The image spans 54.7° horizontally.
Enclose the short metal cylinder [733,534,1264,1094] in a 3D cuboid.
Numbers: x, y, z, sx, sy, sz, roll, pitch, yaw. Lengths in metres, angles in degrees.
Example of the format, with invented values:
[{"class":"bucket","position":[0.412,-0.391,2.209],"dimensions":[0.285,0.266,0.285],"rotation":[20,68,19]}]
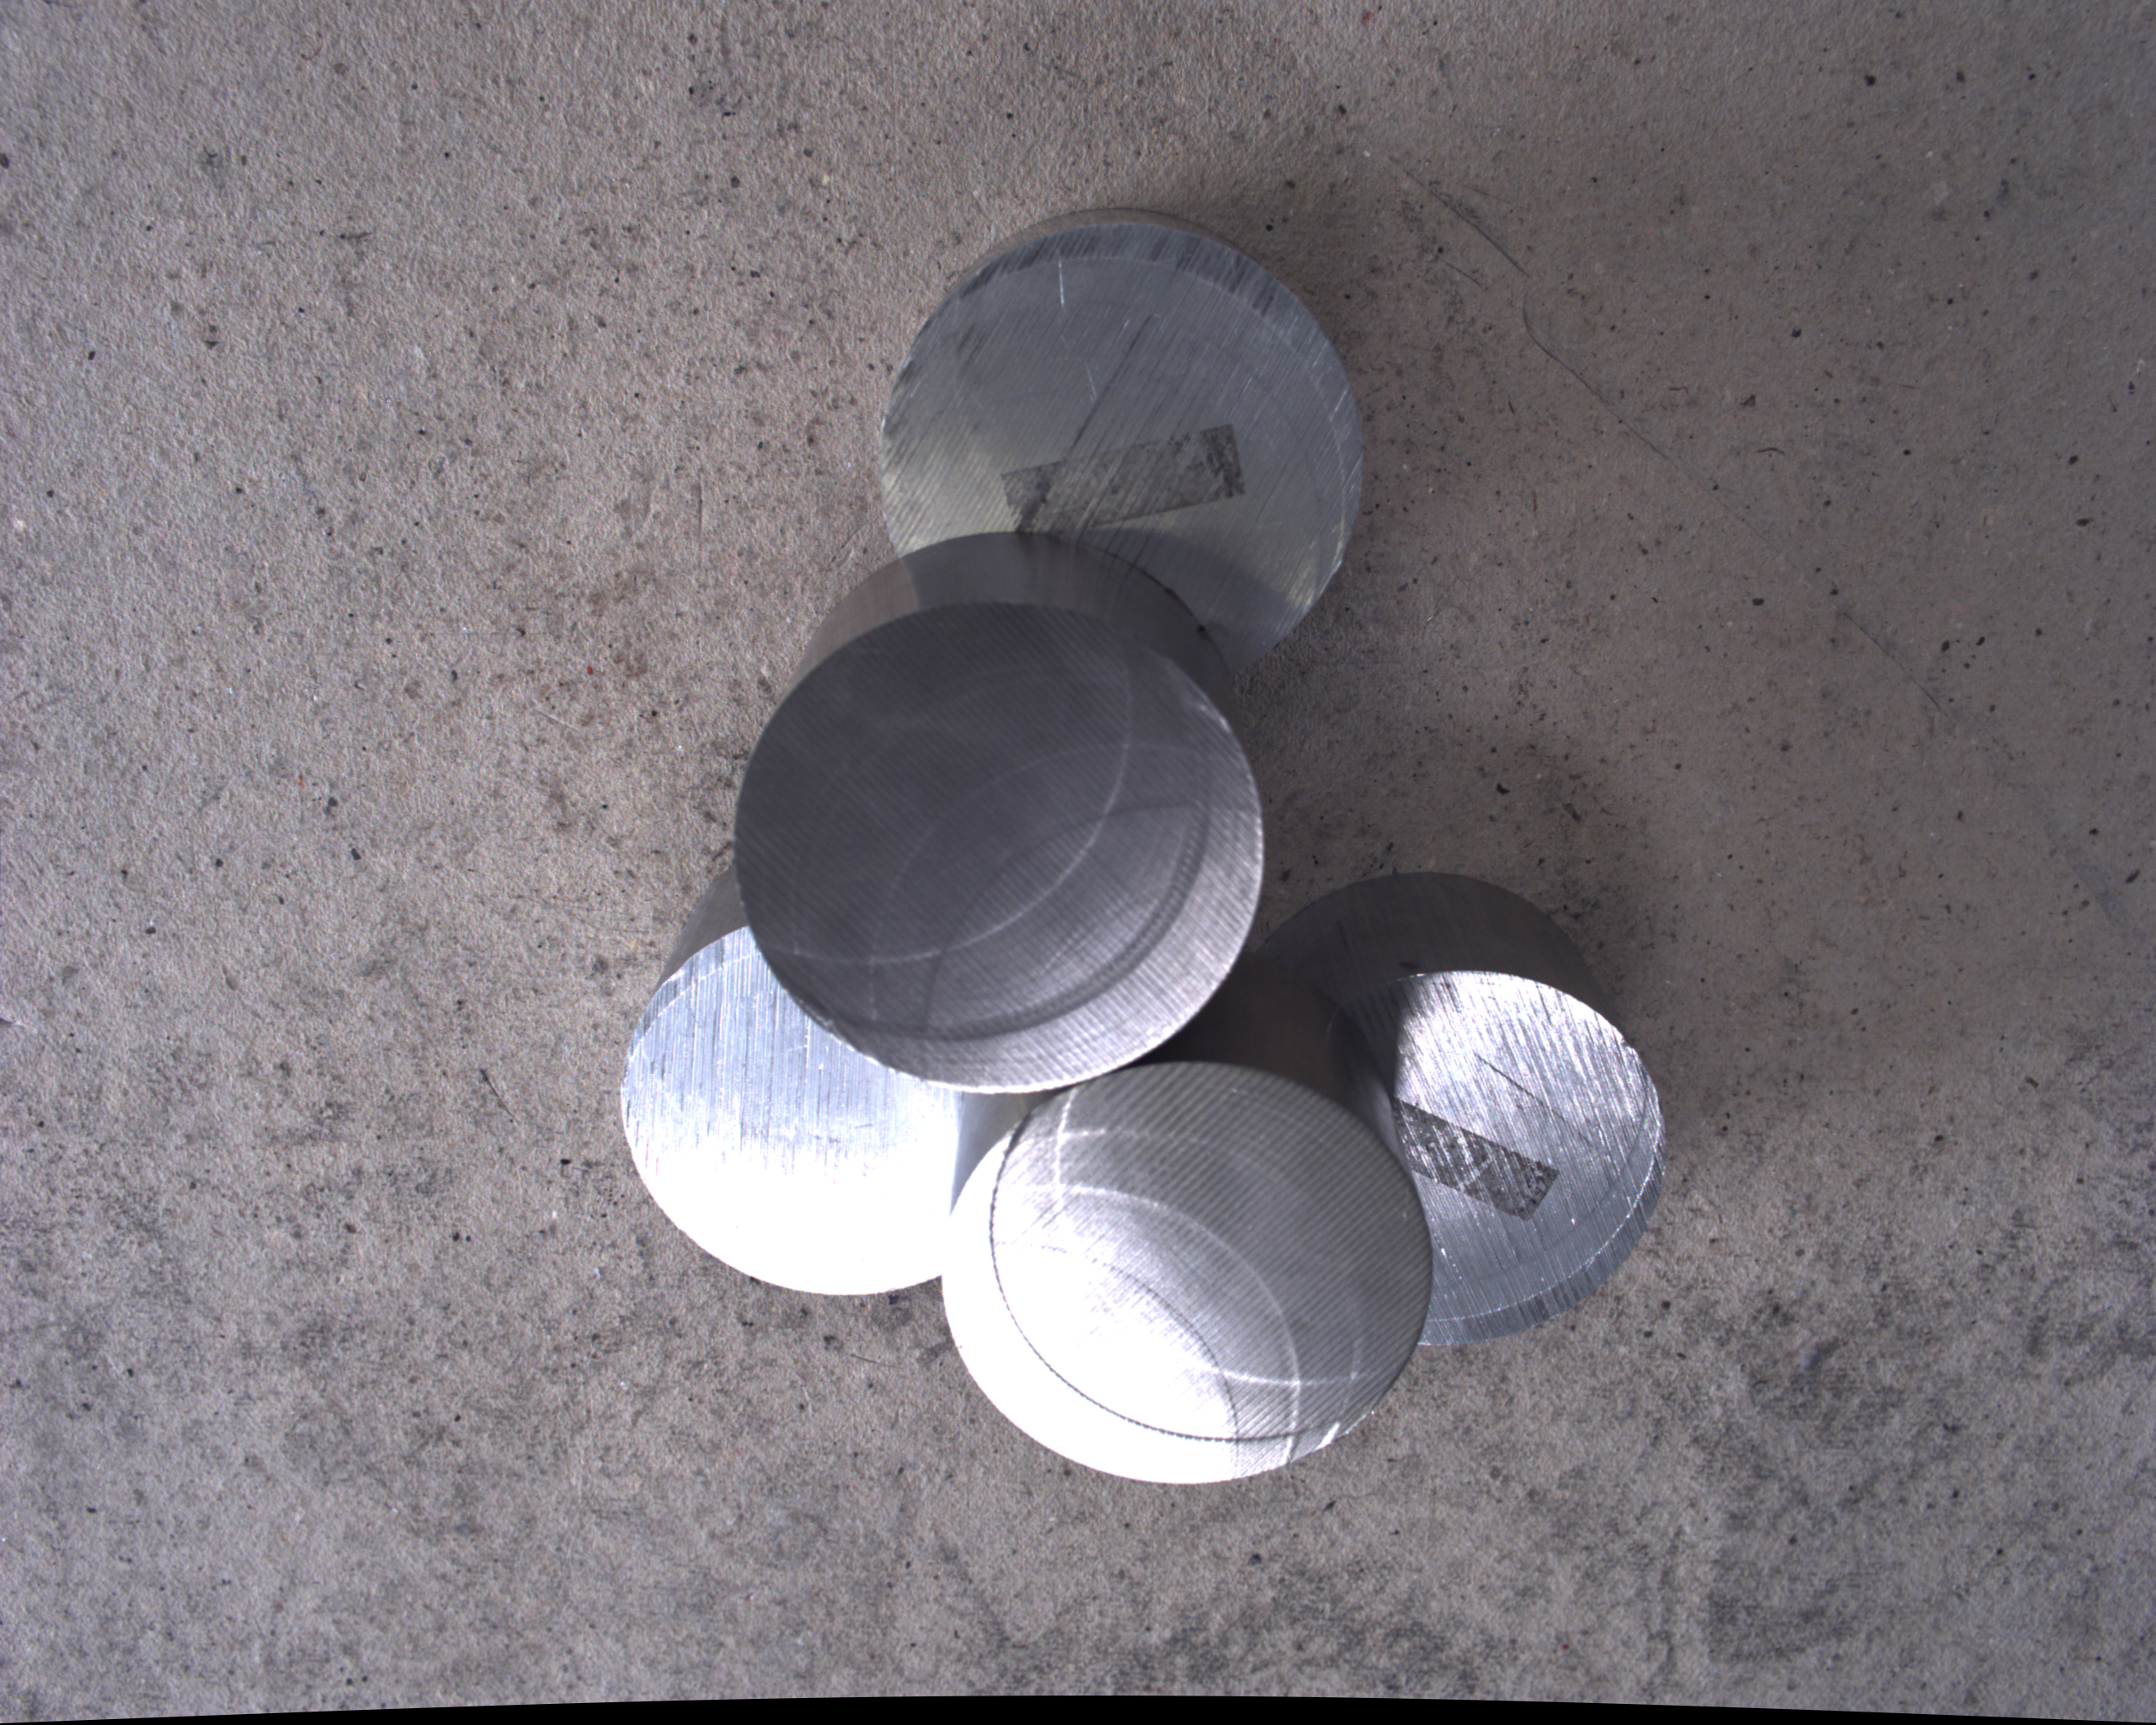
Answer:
[{"class":"short metal cylinder","position":[-0.012,-0.009,0.340],"dimensions":[0.080,0.050,0.079],"rotation":[0,110,0]}]

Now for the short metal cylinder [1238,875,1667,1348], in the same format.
[{"class":"short metal cylinder","position":[0.070,0.049,0.416],"dimensions":[0.081,0.050,0.079],"rotation":[0,110,0]}]

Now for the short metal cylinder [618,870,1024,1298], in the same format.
[{"class":"short metal cylinder","position":[-0.045,0.038,0.411],"dimensions":[0.081,0.050,0.079],"rotation":[0,110,0]}]

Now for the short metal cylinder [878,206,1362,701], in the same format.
[{"class":"short metal cylinder","position":[0.007,-0.074,0.371],"dimensions":[0.081,0.050,0.079],"rotation":[0,110,0]}]

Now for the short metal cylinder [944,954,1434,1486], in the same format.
[{"class":"short metal cylinder","position":[0.018,0.060,0.366],"dimensions":[0.081,0.050,0.079],"rotation":[0,110,-1]}]
